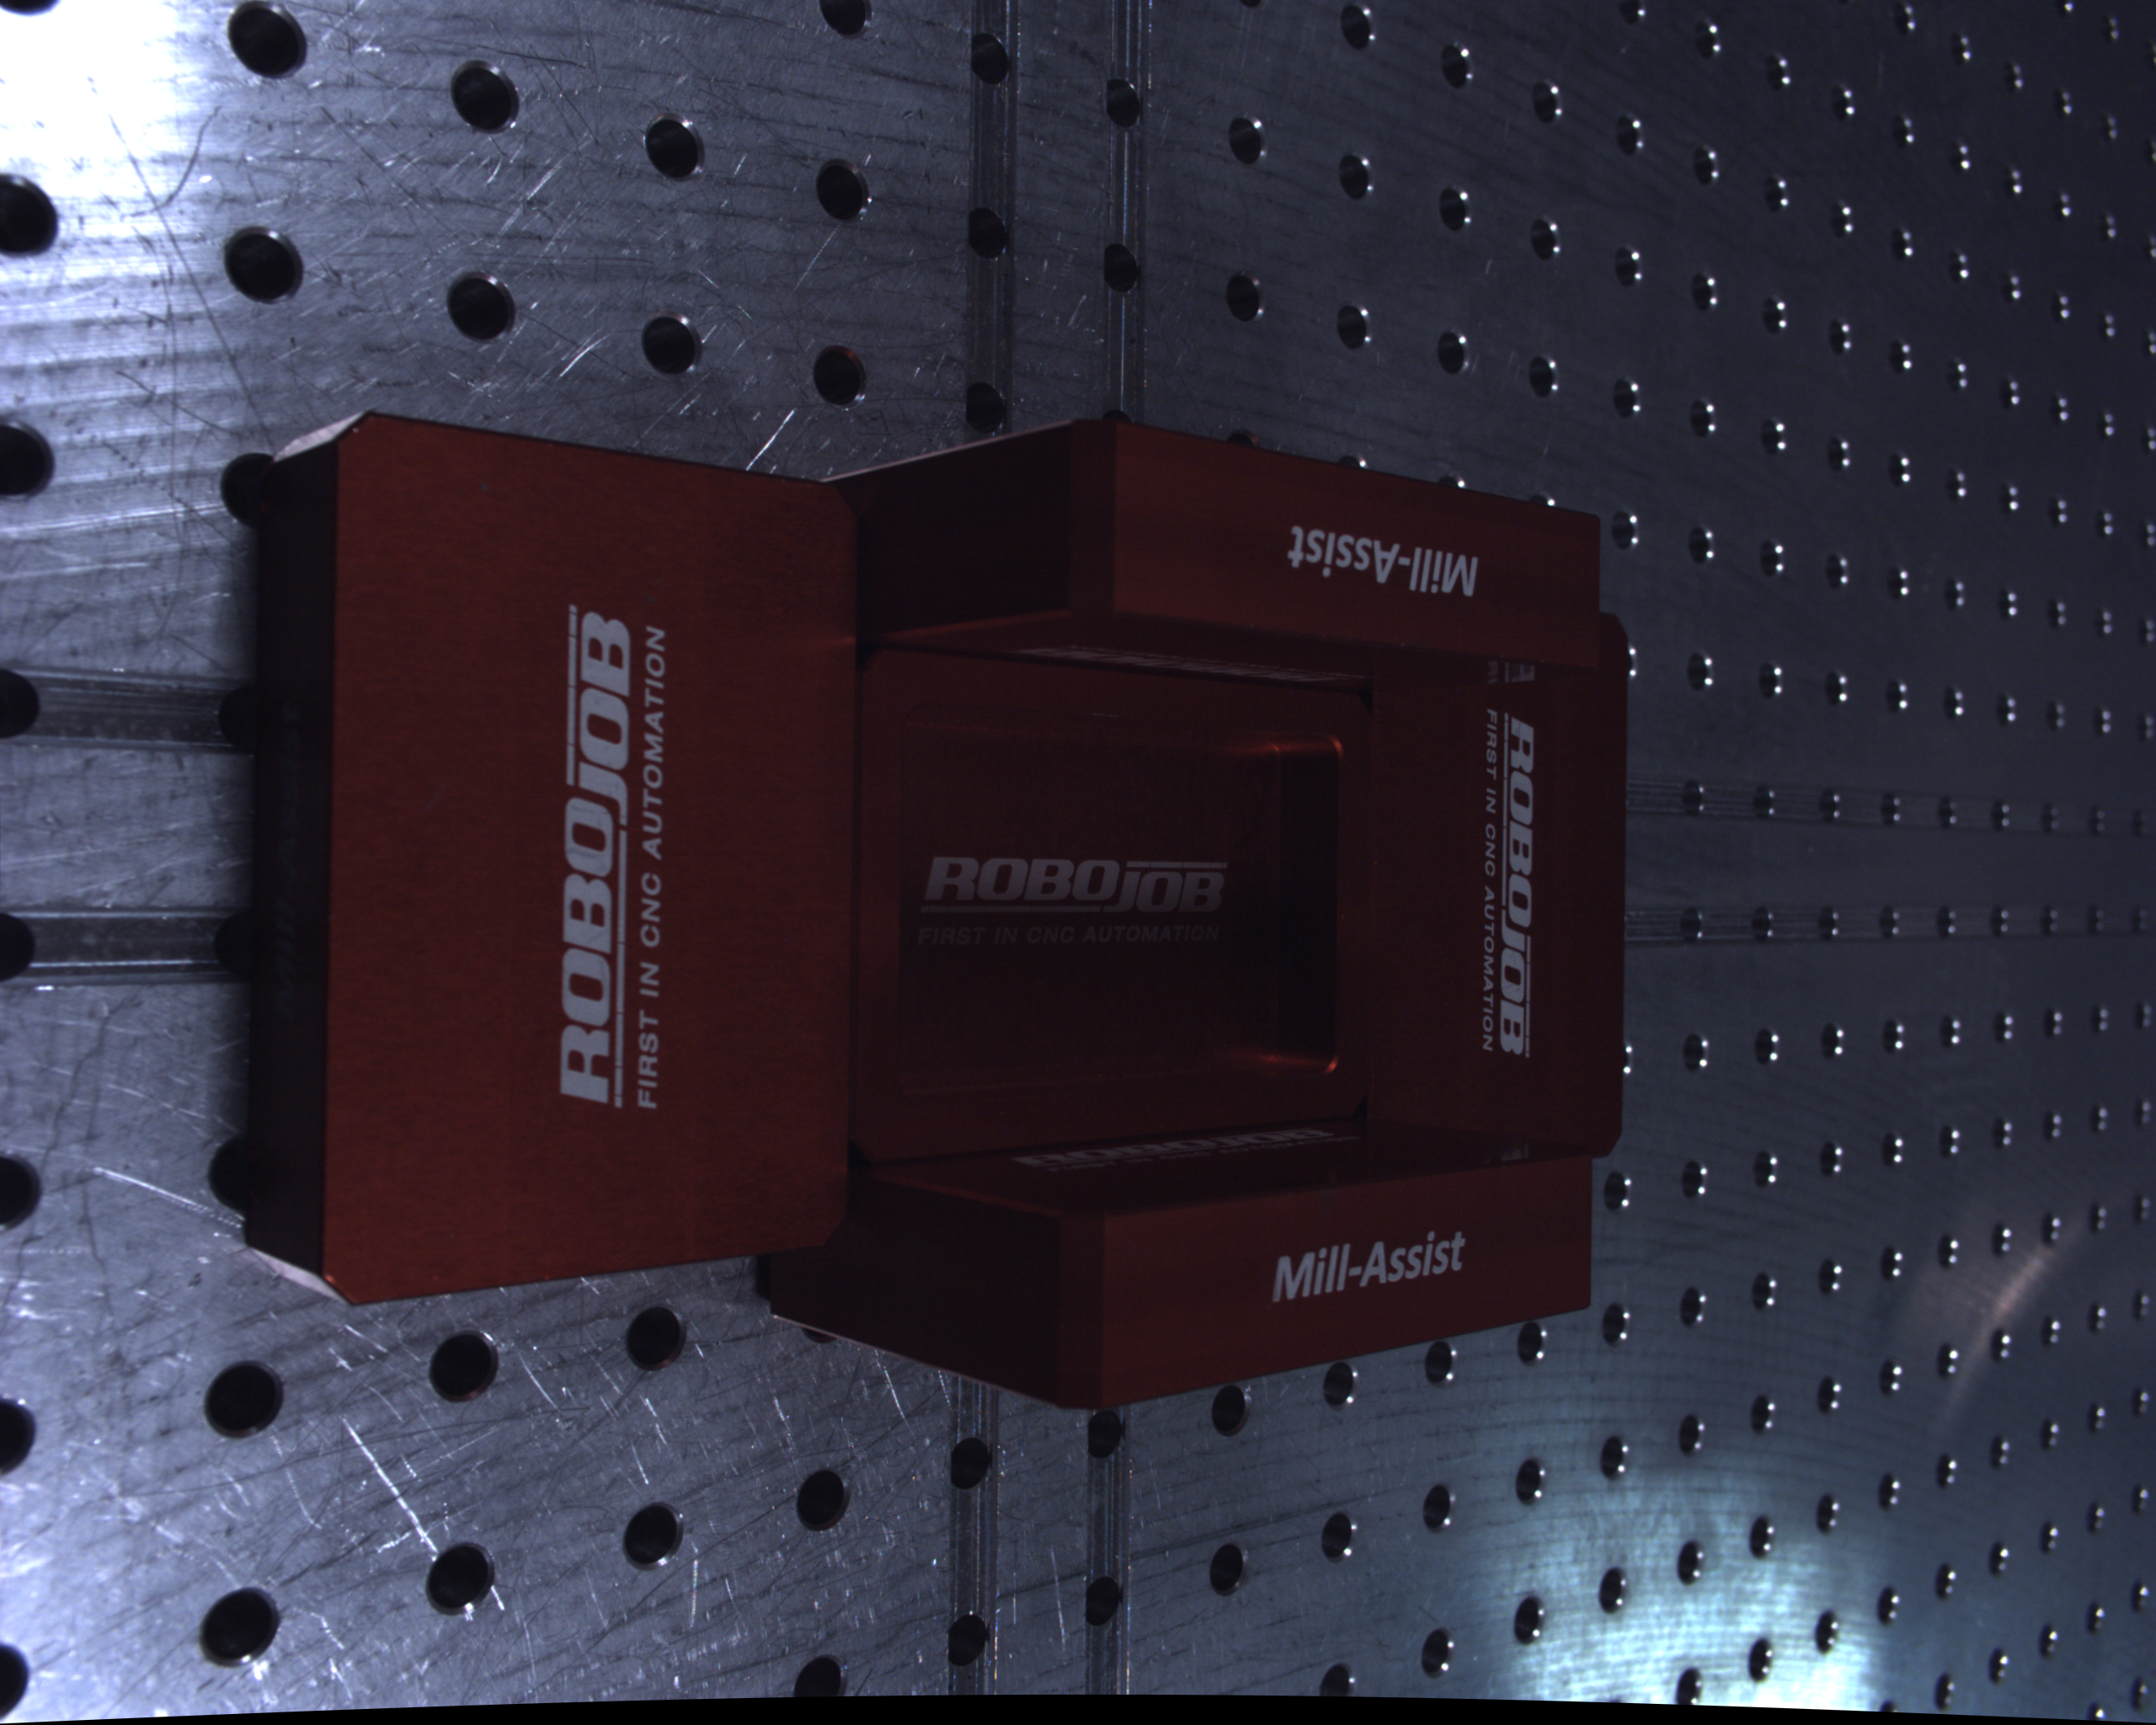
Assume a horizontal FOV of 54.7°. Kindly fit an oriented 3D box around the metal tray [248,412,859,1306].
[{"bbox_3d":[-0.082,0.000,0.338,0.091,0.030,0.129,1,89,-40],"label":"metal tray"}]

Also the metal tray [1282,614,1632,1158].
[{"bbox_3d":[0.088,0.005,0.480,0.091,0.030,0.129,1,89,-41],"label":"metal tray"}]

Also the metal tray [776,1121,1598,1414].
[{"bbox_3d":[0.022,0.068,0.386,0.131,0.090,0.030,1,90,-40],"label":"metal tray"}]

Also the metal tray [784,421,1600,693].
[{"bbox_3d":[0.023,-0.052,0.388,0.131,0.090,0.030,1,90,-40],"label":"metal tray"}]

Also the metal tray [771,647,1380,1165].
[{"bbox_3d":[0.004,0.008,0.408,0.131,0.030,0.089,1,90,-40],"label":"metal tray"}]
